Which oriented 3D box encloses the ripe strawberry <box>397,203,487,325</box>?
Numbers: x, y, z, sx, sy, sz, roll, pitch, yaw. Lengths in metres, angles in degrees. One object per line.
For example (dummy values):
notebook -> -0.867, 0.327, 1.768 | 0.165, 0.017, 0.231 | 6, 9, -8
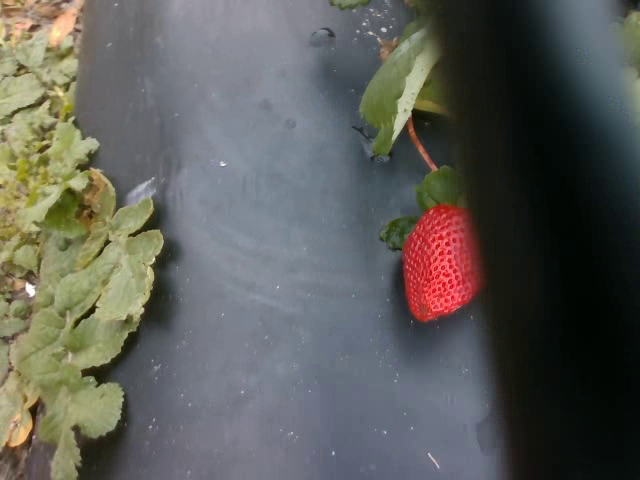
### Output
ripe strawberry -> 0.051, 0.011, 0.263 | 0.046, 0.049, 0.064 | -27, 19, 45
